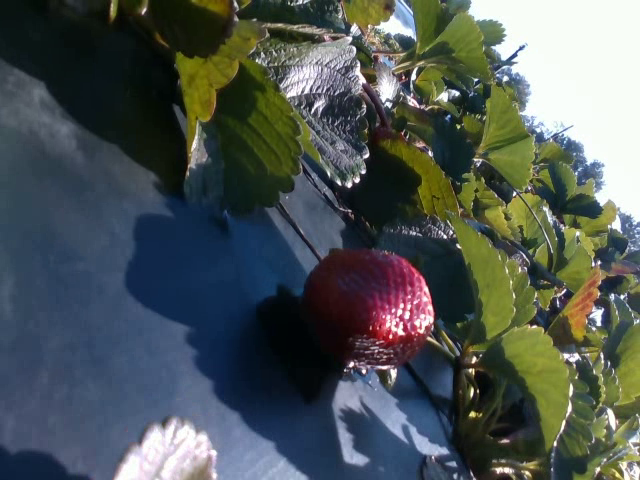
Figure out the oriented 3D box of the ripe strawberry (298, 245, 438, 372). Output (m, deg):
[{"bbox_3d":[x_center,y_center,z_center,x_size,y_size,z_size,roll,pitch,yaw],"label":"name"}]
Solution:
[{"bbox_3d":[0.012,0.021,0.169,0.044,0.042,0.055,7,0,13],"label":"ripe strawberry"}]
